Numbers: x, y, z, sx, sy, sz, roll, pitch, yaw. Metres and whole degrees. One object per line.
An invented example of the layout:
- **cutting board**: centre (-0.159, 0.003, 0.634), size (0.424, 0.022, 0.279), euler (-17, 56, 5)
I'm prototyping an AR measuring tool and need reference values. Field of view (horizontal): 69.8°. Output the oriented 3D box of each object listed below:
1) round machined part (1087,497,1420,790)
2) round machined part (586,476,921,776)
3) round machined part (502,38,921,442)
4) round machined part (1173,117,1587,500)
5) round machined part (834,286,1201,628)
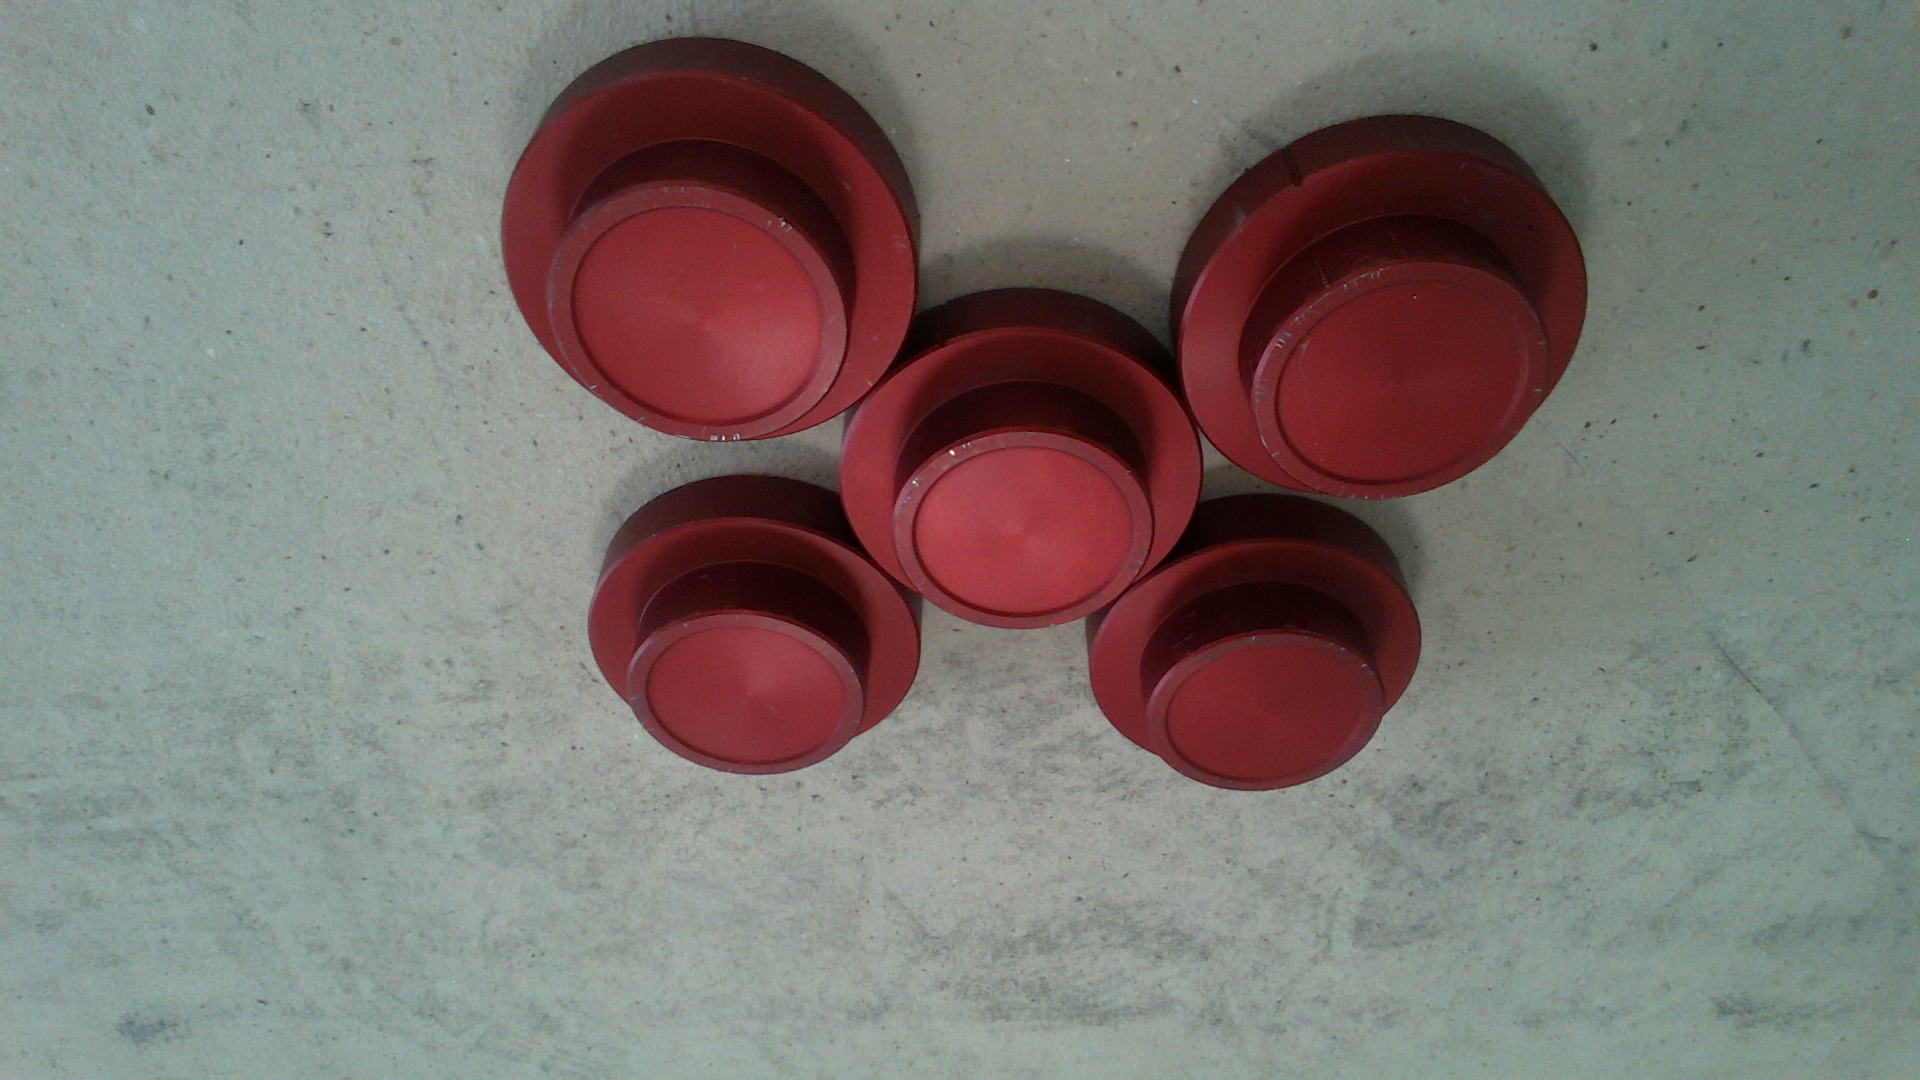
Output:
- **round machined part**: centre (0.088, 0.038, 0.412), size (0.098, 0.042, 0.098), euler (0, 132, 1)
- **round machined part**: centre (-0.061, 0.032, 0.406), size (0.098, 0.042, 0.098), euler (0, 131, 0)
- **round machined part**: centre (-0.059, -0.063, 0.326), size (0.098, 0.042, 0.098), euler (0, 130, 0)
- **round machined part**: centre (0.103, -0.049, 0.338), size (0.098, 0.042, 0.098), euler (0, 132, 1)
- **round machined part**: centre (0.015, -0.015, 0.367), size (0.098, 0.042, 0.098), euler (0, 132, 1)
